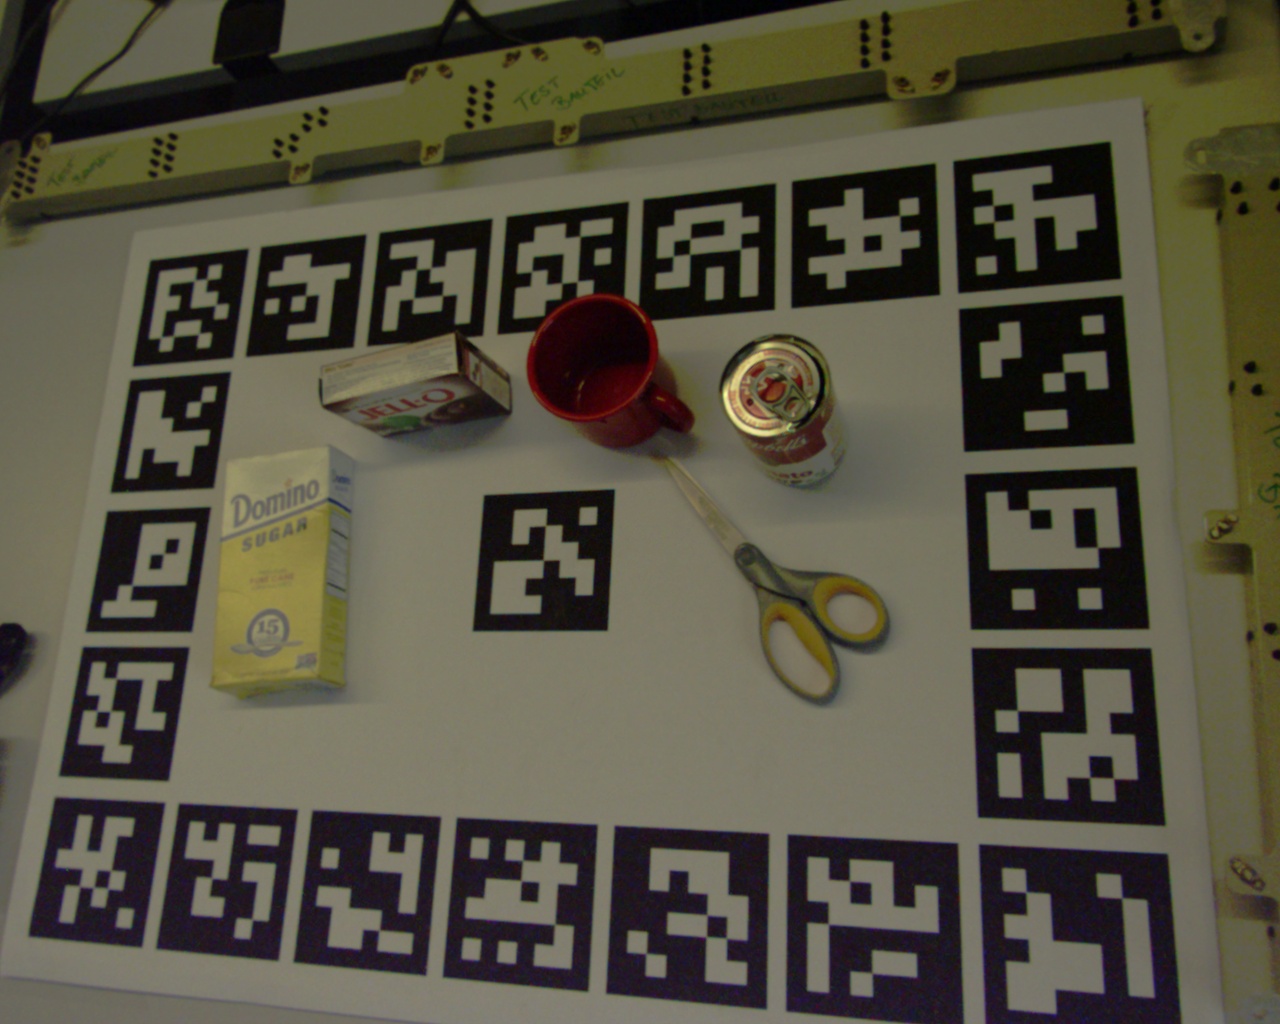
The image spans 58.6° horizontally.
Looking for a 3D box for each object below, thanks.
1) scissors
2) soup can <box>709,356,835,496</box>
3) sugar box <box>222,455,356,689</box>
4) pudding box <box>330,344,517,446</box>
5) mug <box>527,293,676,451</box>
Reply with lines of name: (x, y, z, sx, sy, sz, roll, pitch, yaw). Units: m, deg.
scissors: (0.076, 0.046, 0.787, 0.088, 0.015, 0.204, -46, 68, 13)
soup can: (0.092, -0.056, 0.771, 0.068, 0.101, 0.068, -5, 74, 17)
sugar box: (-0.273, 0.048, 0.892, 0.093, 0.045, 0.177, -6, 76, 19)
pudding box: (-0.162, -0.086, 0.858, 0.114, 0.089, 0.039, -12, 80, 15)
mug: (-0.017, -0.090, 0.818, 0.093, 0.080, 0.118, -38, 67, 8)
